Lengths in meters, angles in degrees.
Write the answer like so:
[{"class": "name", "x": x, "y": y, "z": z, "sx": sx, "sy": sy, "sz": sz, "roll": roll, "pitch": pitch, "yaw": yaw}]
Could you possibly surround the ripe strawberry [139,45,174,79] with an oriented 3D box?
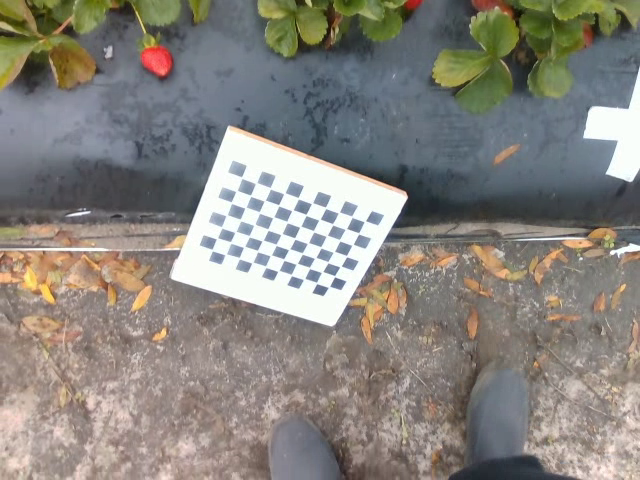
[{"class": "ripe strawberry", "x": -0.228, "y": -0.252, "z": 0.832, "sx": 0.045, "sy": 0.054, "sz": 0.048, "roll": -24, "pitch": -15, "yaw": 12}]
